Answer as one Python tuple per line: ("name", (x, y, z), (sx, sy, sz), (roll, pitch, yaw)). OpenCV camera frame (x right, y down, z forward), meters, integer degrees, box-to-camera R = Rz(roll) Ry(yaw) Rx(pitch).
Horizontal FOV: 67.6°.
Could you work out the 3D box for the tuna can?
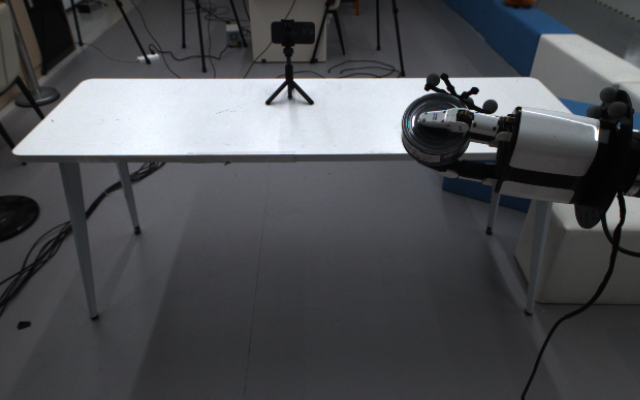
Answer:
("tuna can", (0.145, -0.090, 0.598), (0.085, 0.034, 0.085), (-4, 69, 10))
